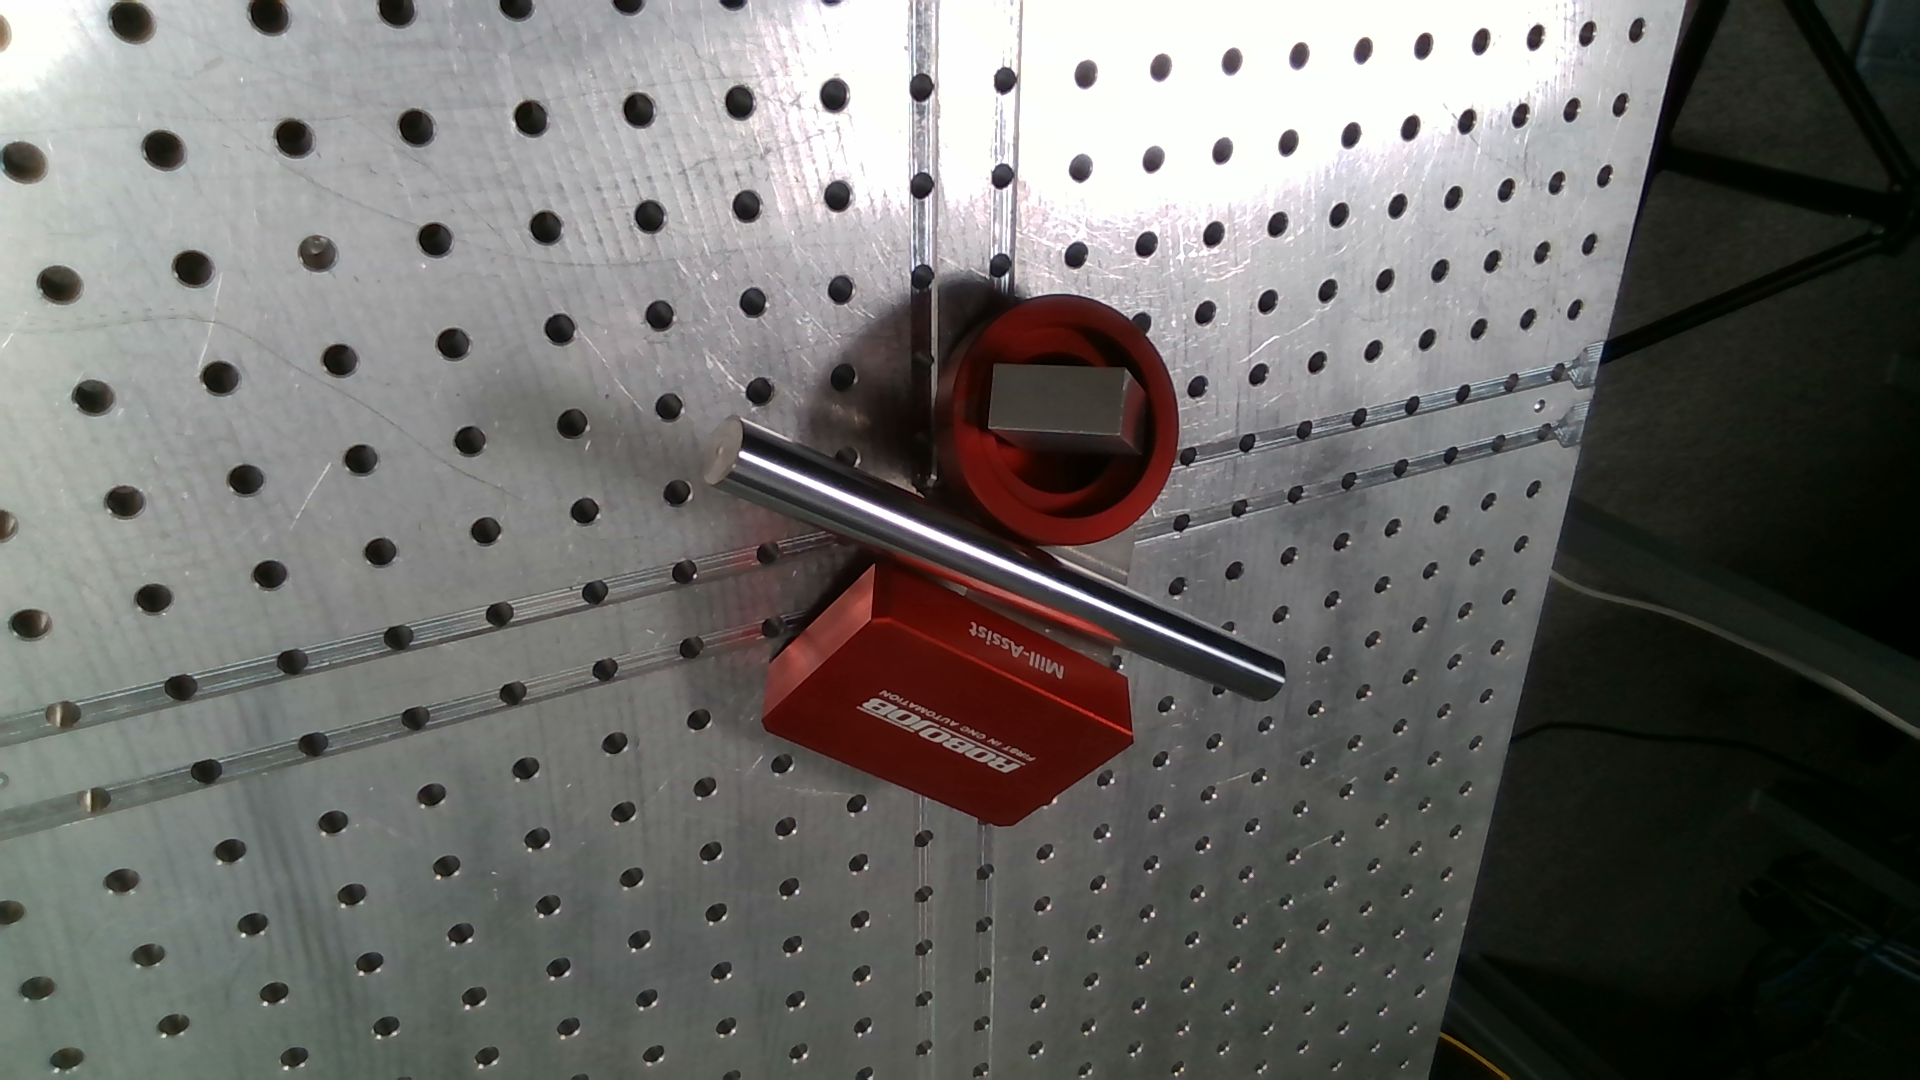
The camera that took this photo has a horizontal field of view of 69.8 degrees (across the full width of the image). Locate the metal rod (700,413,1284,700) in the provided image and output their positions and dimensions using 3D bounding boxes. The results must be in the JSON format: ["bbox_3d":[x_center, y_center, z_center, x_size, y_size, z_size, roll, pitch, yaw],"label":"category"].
[{"bbox_3d":[0.031,0.016,0.546,0.301,0.025,0.025,23,101,-38],"label":"metal rod"}]

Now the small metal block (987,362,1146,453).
[{"bbox_3d":[0.042,-0.050,0.530,0.050,0.050,0.025,20,75,-73],"label":"small metal block"}]

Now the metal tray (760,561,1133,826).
[{"bbox_3d":[-0.005,0.068,0.571,0.130,0.030,0.090,27,131,-25],"label":"metal tray"}]

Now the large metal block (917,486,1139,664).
[{"bbox_3d":[0.023,0.021,0.593,0.080,0.050,0.080,-6,118,-29],"label":"large metal block"}]

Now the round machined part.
[{"bbox_3d":[0.035,-0.047,0.552,0.098,0.042,0.098,0,91,-23],"label":"round machined part"}]
